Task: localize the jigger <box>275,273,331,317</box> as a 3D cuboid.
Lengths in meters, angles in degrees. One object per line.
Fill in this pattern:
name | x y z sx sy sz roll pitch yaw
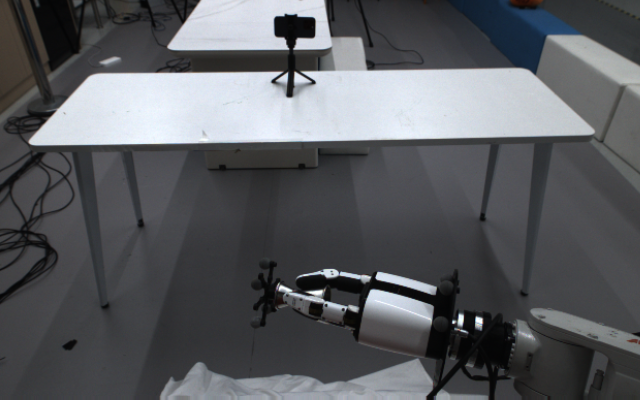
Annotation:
jigger | -0.017 0.130 0.655 0.071 0.043 0.043 4 34 15
